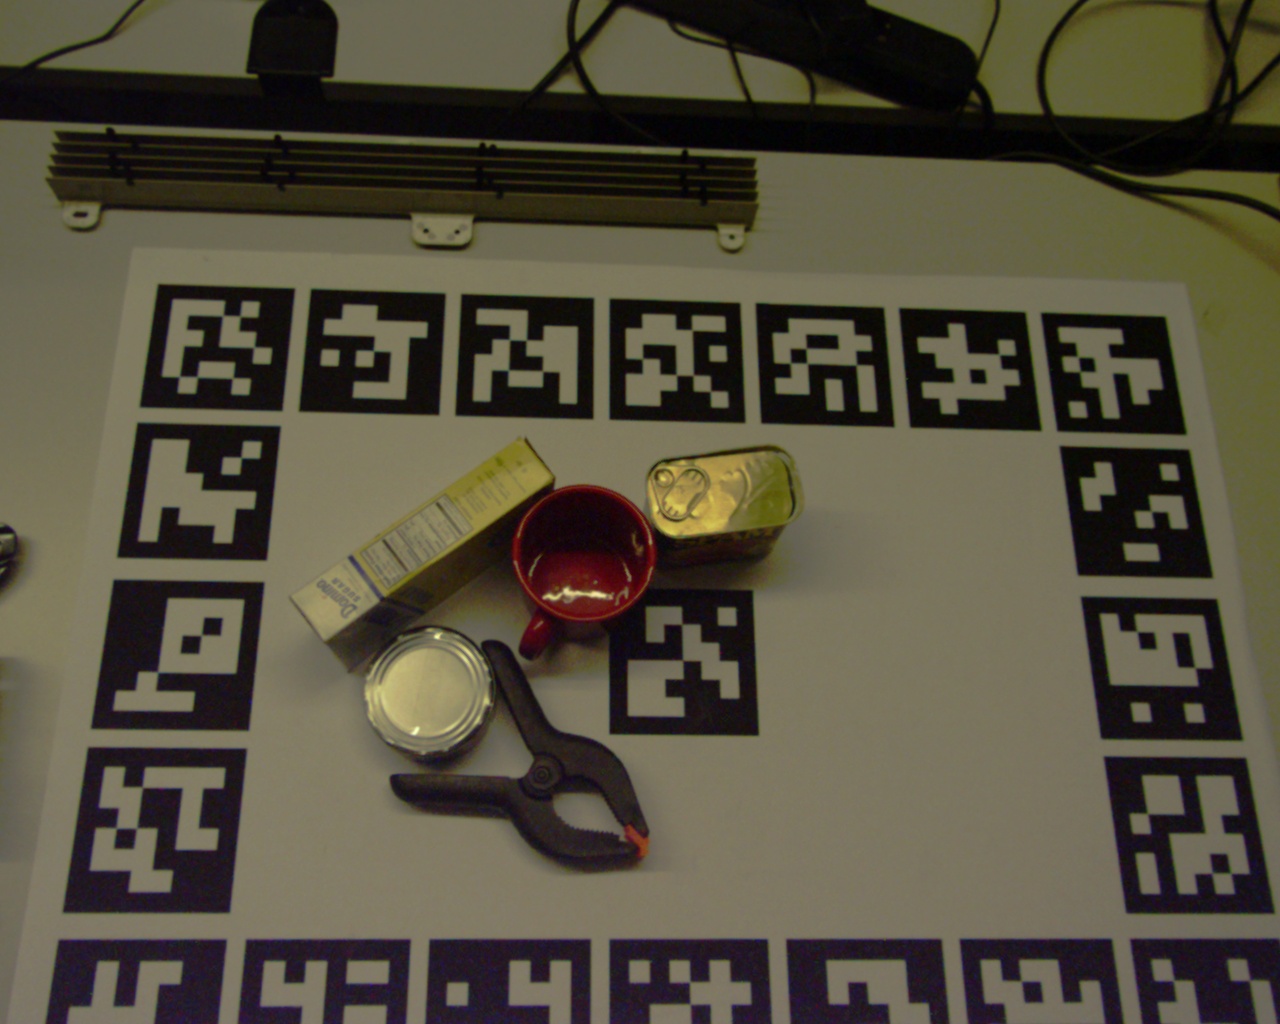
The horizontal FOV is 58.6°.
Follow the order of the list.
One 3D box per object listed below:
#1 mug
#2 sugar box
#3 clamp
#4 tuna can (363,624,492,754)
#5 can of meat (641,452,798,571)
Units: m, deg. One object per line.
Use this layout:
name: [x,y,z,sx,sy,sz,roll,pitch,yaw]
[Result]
mug: [-0.047,0.046,0.782,0.093,0.081,0.117,25,74,3]
sugar box: [-0.140,0.031,0.784,0.175,0.093,0.045,-36,77,-16]
clamp: [-0.066,0.177,0.771,0.165,0.037,0.121,35,69,3]
tuna can: [-0.144,0.121,0.778,0.085,0.034,0.086,1,74,-4]
can of meat: [0.051,0.002,0.812,0.101,0.084,0.058,-7,72,-8]
